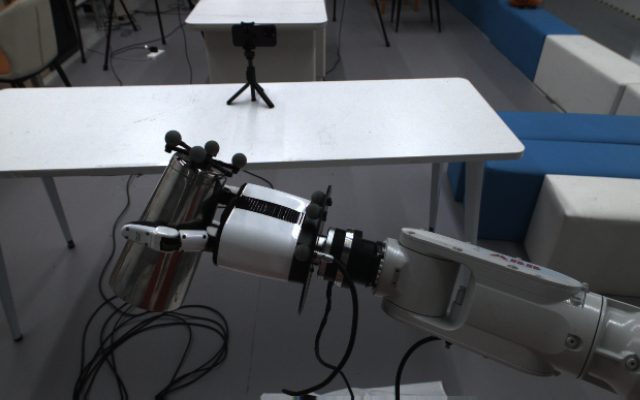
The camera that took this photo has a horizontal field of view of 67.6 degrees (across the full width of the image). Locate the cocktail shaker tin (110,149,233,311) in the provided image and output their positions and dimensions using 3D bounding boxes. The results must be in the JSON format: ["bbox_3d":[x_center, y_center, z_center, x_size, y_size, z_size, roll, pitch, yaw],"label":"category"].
[{"bbox_3d":[-0.170,0.033,0.568,0.093,0.170,0.093,24,12,-6],"label":"cocktail shaker tin"}]
